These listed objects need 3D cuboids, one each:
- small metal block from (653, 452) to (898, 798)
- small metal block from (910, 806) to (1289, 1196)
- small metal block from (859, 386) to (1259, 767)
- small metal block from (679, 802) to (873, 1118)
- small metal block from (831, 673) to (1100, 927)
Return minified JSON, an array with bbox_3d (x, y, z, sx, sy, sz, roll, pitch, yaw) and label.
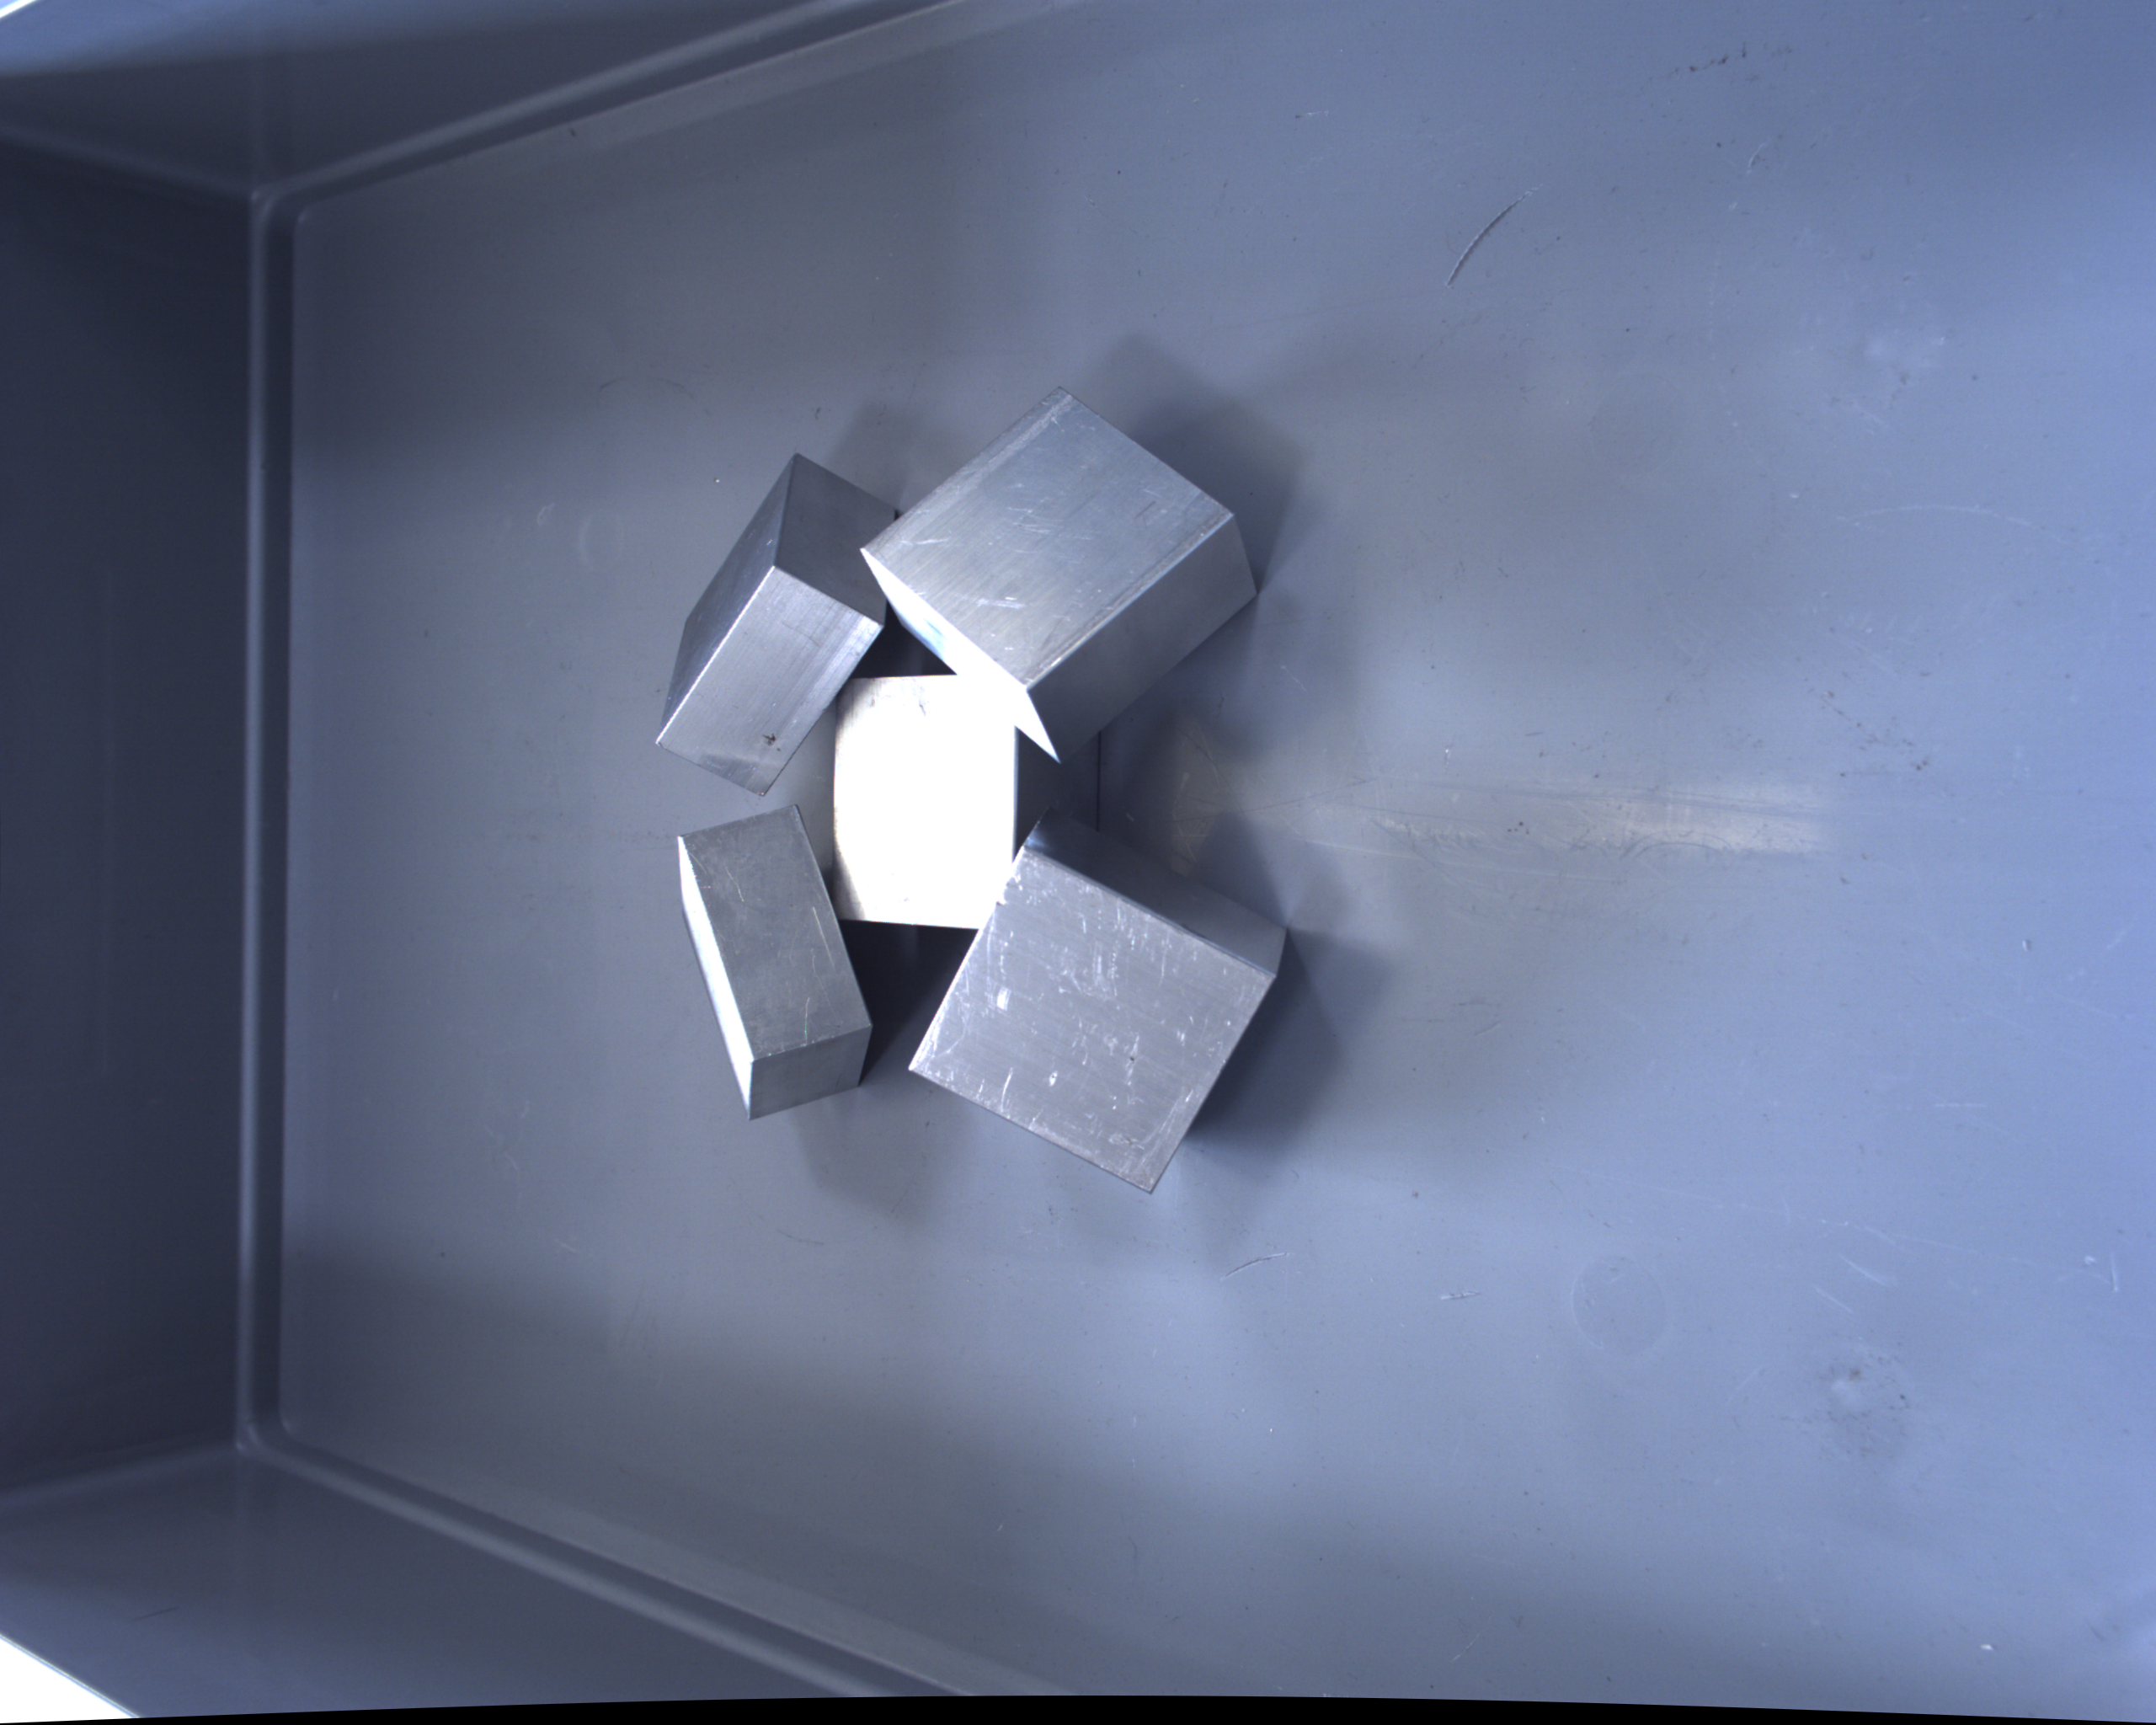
[{"bbox_3d":[-0.063,-0.050,0.440,0.050,0.025,0.050,-50,23,29],"label":"small metal block"},{"bbox_3d":[0.004,0.025,0.386,0.050,0.025,0.050,27,110,0],"label":"small metal block"},{"bbox_3d":[-0.003,-0.054,0.391,0.050,0.025,0.050,-41,58,-10],"label":"small metal block"},{"bbox_3d":[-0.065,0.022,0.443,0.050,0.025,0.050,114,137,-68],"label":"small metal block"},{"bbox_3d":[-0.023,-0.013,0.423,0.050,0.025,0.050,2,92,40],"label":"small metal block"}]
